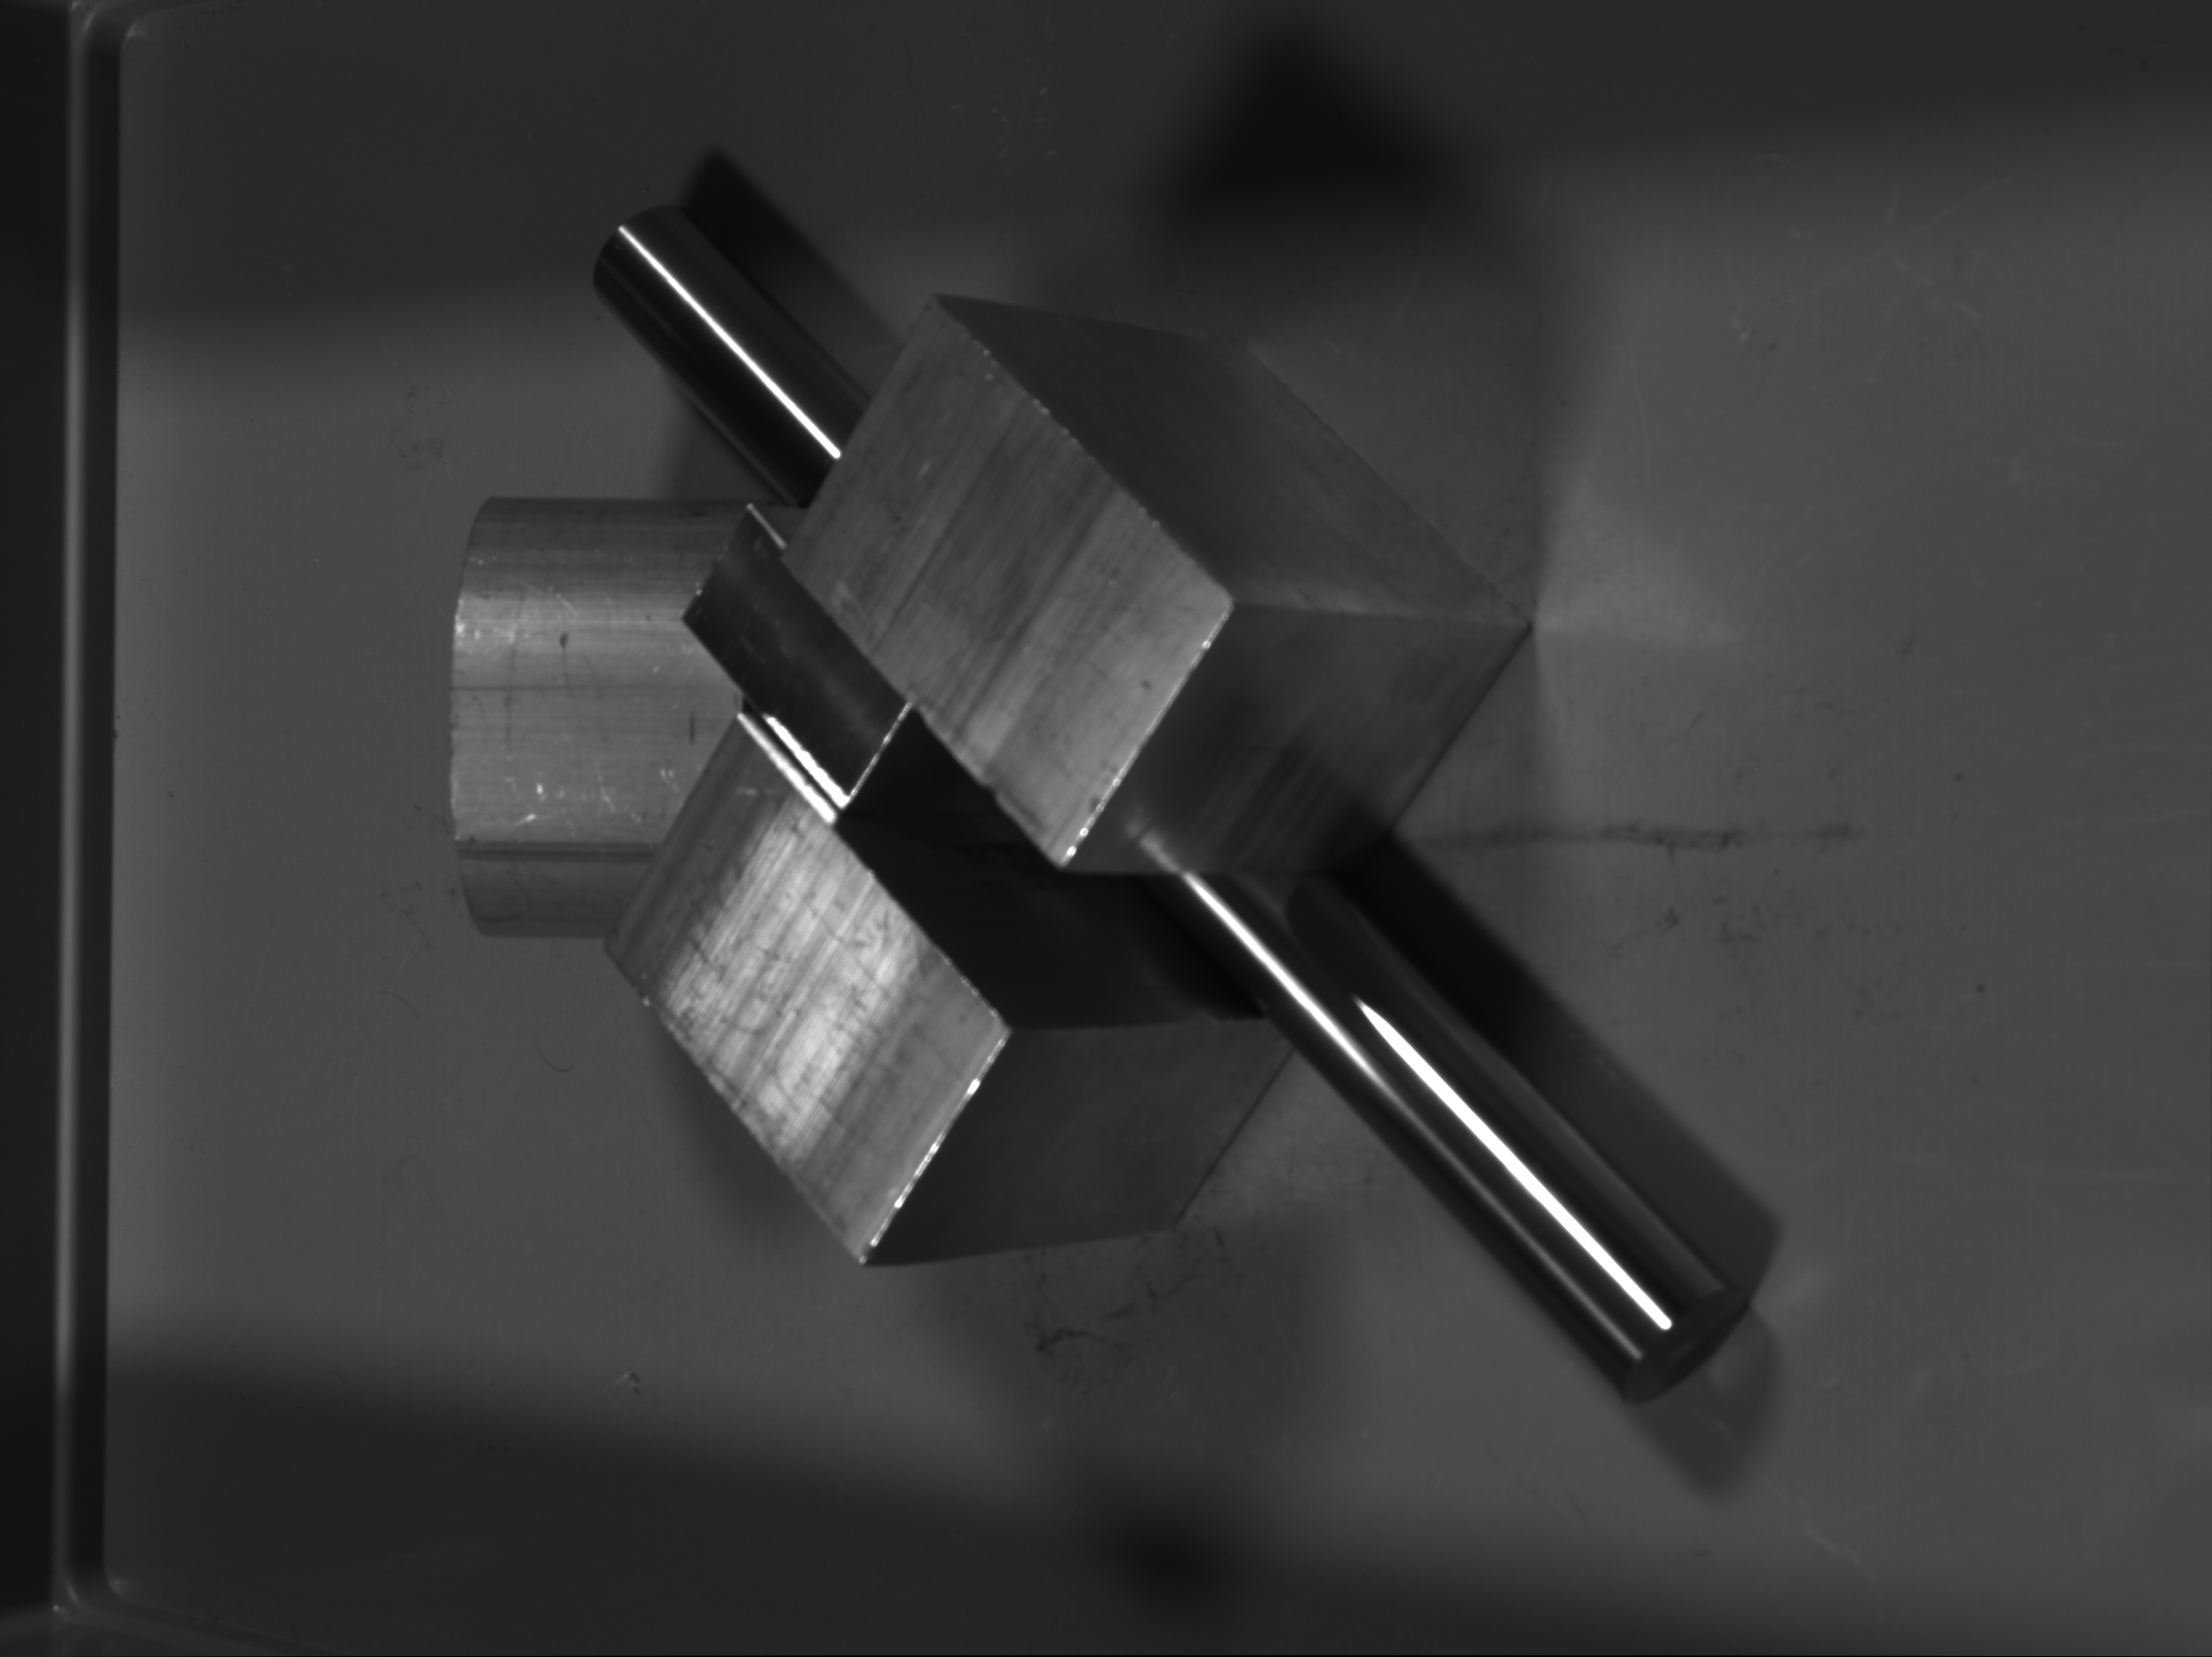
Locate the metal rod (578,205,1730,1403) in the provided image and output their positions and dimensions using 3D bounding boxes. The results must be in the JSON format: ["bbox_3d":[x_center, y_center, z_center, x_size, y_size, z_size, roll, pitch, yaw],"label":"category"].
[{"bbox_3d":[-0.002,-0.015,0.638,0.299,0.025,0.025,47,117,29],"label":"metal rod"}]

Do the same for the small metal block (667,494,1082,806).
[{"bbox_3d":[-0.037,-0.030,0.620,0.050,0.050,0.025,48,118,29],"label":"small metal block"}]

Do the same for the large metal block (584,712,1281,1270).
[{"bbox_3d":[-0.027,0.026,0.622,0.080,0.080,0.050,47,117,30],"label":"large metal block"}]

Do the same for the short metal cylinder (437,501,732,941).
[{"bbox_3d":[-0.089,-0.020,0.665,0.050,0.080,0.080,1,90,0],"label":"short metal cylinder"}]

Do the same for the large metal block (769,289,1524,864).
[{"bbox_3d":[0.007,-0.039,0.595,0.080,0.080,0.050,48,118,29],"label":"large metal block"}]
